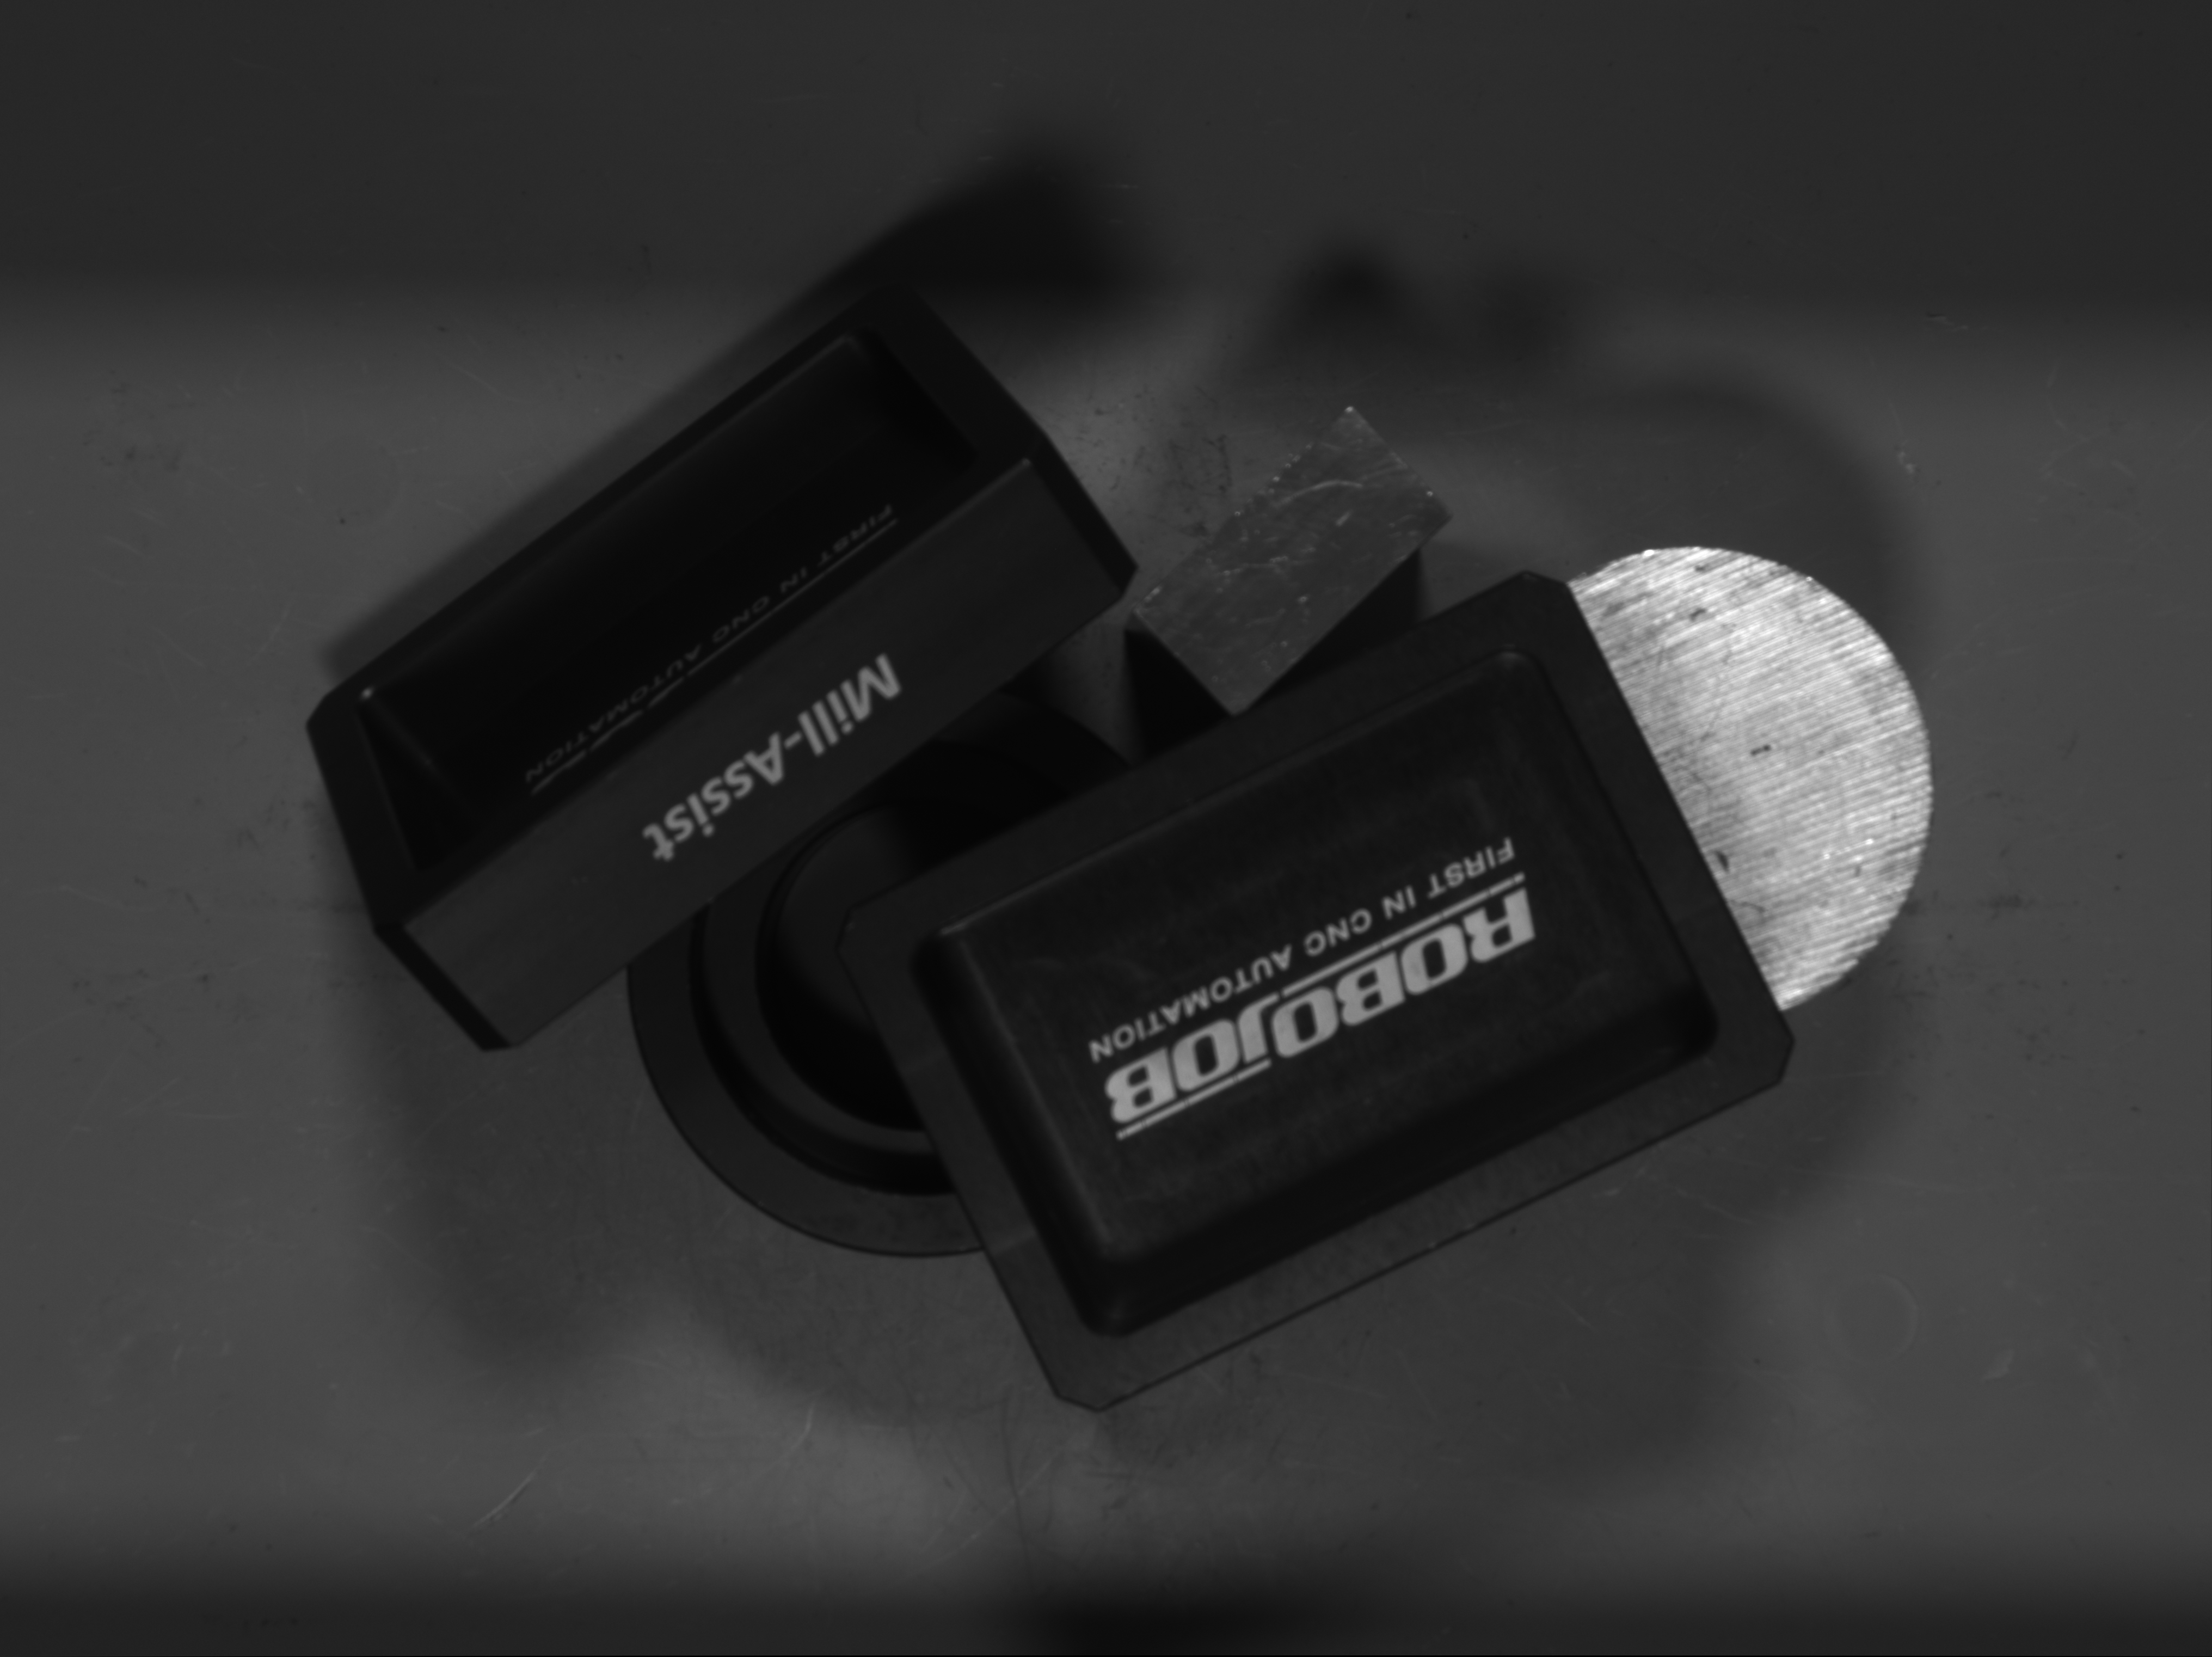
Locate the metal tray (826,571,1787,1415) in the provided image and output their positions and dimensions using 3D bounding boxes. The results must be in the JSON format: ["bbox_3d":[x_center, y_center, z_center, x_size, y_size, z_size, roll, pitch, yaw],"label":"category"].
[{"bbox_3d":[0.032,0.026,0.594,0.130,0.030,0.090,-26,89,4],"label":"metal tray"}]

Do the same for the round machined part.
[{"bbox_3d":[-0.033,0.024,0.636,0.098,0.042,0.098,0,90,0],"label":"round machined part"}]

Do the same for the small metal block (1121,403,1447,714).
[{"bbox_3d":[0.029,-0.044,0.631,0.050,0.050,0.025,-43,90,-2],"label":"small metal block"}]

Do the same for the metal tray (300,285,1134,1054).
[{"bbox_3d":[-0.068,-0.029,0.609,0.130,0.090,0.030,-37,122,-1],"label":"metal tray"}]

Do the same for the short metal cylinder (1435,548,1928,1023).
[{"bbox_3d":[0.096,-0.006,0.632,0.080,0.050,0.080,0,90,0],"label":"short metal cylinder"}]
